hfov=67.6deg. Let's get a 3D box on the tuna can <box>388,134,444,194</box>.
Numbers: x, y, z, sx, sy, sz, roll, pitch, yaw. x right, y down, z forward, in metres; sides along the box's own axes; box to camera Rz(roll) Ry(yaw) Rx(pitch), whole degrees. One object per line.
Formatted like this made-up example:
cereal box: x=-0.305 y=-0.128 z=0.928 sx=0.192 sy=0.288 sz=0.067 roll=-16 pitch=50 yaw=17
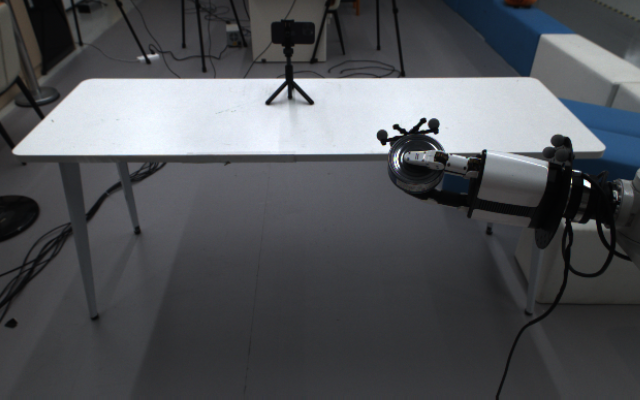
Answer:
tuna can: x=0.145 y=-0.059 z=0.721 sx=0.085 sy=0.034 sz=0.085 roll=-4 pitch=68 yaw=9
